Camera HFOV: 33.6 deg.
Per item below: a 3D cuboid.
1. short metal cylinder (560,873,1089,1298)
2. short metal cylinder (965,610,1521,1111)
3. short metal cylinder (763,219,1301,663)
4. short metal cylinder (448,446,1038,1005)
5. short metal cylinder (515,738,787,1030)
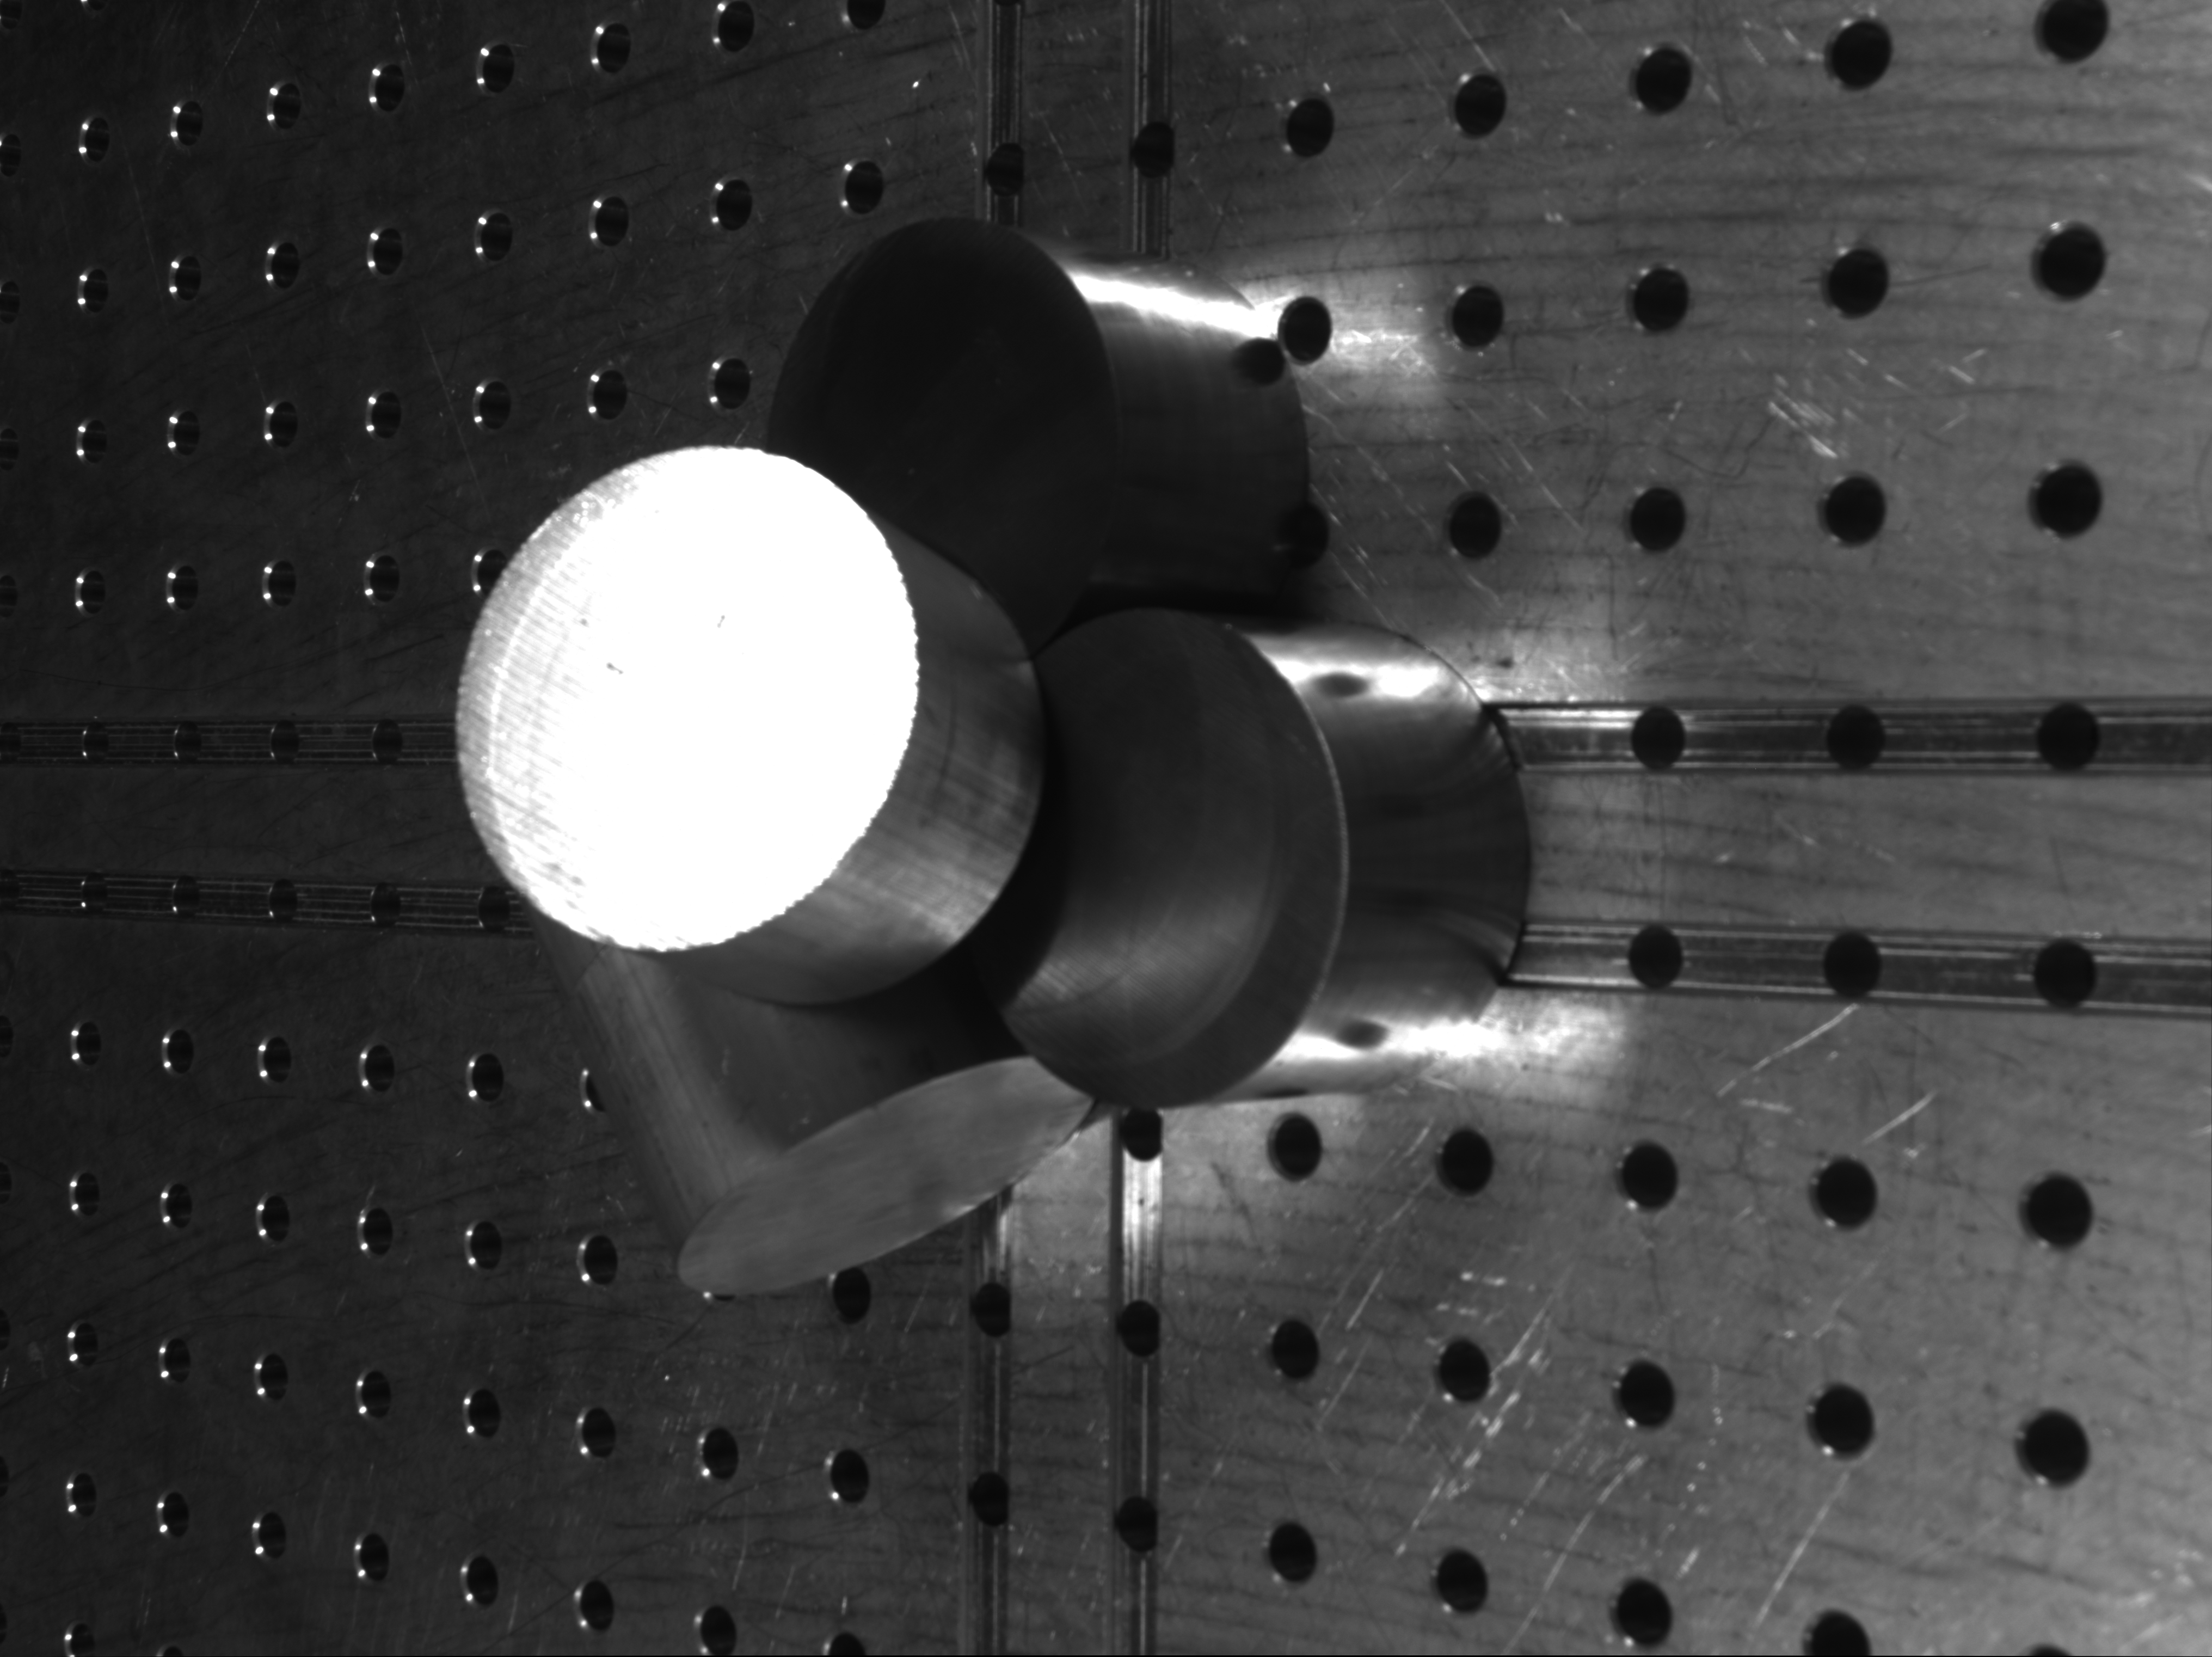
[{"bbox_3d":[-0.049,0.041,0.643,0.080,0.080,0.050,-41,65,32],"label":"short metal cylinder"},{"bbox_3d":[0.021,0.005,0.605,0.080,0.050,0.080,0,90,39],"label":"short metal cylinder"},{"bbox_3d":[-0.013,-0.062,0.633,0.080,0.050,0.080,0,90,39],"label":"short metal cylinder"},{"bbox_3d":[-0.057,-0.015,0.587,0.080,0.050,0.080,-5,76,21],"label":"short metal cylinder"},{"bbox_3d":[-0.069,-0.002,0.661,0.080,0.080,0.050,-41,65,32],"label":"short metal cylinder"}]
